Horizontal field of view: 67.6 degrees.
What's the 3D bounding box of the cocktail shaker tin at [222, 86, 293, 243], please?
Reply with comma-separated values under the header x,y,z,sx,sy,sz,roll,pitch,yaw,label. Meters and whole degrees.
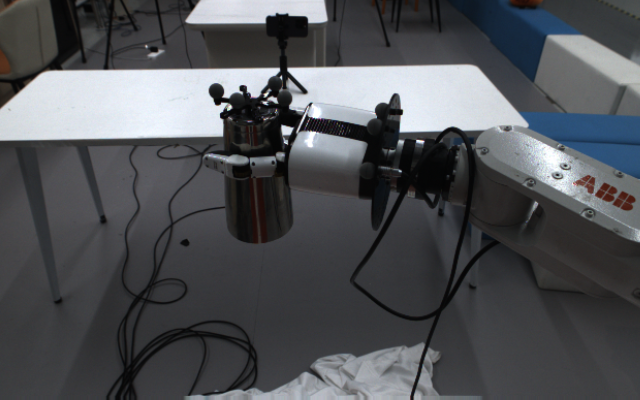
x,y,z,sx,sy,sz,roll,pitch,yaw,label
-0.077,-0.041,0.614,0.093,0.170,0.093,1,39,-1,cocktail shaker tin
